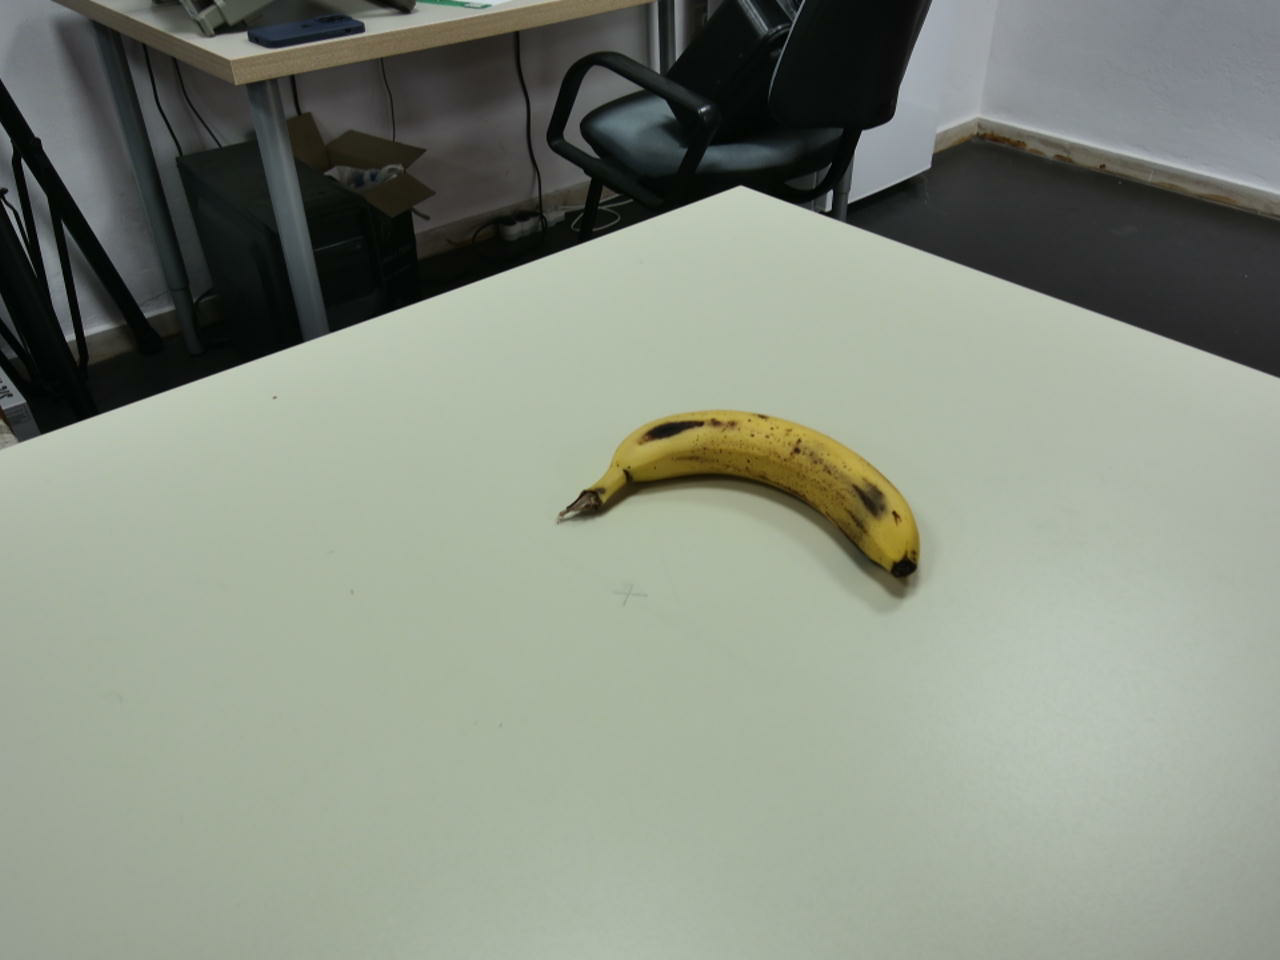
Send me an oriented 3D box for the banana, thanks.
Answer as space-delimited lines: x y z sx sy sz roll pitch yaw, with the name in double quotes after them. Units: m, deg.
0.064 0.000 0.548 0.186 0.038 0.097 13 38 19 "banana"
